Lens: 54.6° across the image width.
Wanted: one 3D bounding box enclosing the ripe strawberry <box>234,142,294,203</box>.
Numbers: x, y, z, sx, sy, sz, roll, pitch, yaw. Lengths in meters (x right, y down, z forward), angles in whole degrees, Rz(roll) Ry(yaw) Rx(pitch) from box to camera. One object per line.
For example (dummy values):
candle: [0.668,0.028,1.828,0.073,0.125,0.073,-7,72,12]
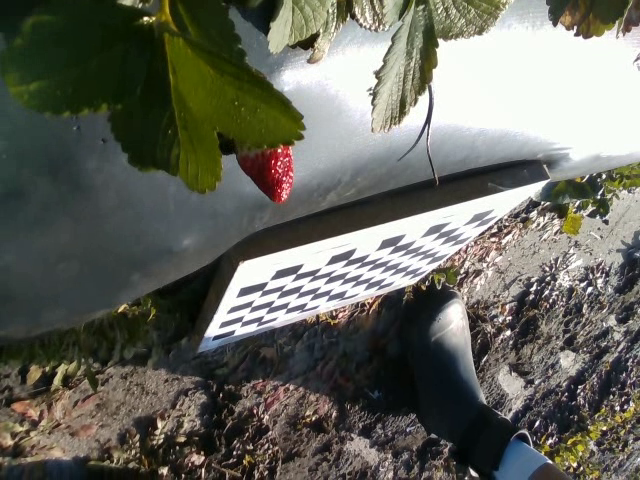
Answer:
ripe strawberry: [-0.022,-0.031,0.257,0.028,0.041,0.031,-21,17,1]
